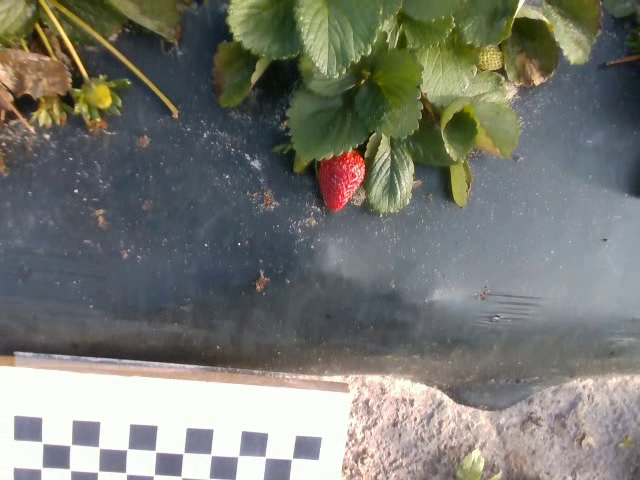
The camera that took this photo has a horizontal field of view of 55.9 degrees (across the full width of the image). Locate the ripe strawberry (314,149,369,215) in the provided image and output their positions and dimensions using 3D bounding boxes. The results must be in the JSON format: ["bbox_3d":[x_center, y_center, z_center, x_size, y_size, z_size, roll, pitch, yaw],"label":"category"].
[{"bbox_3d":[0.009,-0.028,0.295,0.030,0.036,0.021,9,2,-3],"label":"ripe strawberry"}]
